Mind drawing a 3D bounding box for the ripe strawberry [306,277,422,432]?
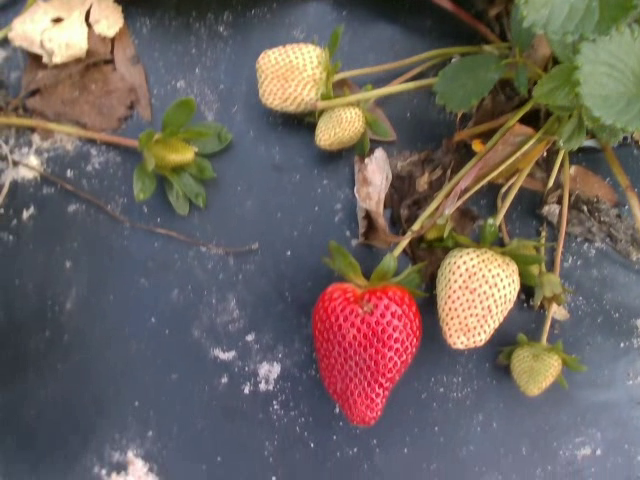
[{"bbox_3d":[0.017,0.040,0.252,0.050,0.059,0.034,1,-26,-3],"label":"ripe strawberry"}]
